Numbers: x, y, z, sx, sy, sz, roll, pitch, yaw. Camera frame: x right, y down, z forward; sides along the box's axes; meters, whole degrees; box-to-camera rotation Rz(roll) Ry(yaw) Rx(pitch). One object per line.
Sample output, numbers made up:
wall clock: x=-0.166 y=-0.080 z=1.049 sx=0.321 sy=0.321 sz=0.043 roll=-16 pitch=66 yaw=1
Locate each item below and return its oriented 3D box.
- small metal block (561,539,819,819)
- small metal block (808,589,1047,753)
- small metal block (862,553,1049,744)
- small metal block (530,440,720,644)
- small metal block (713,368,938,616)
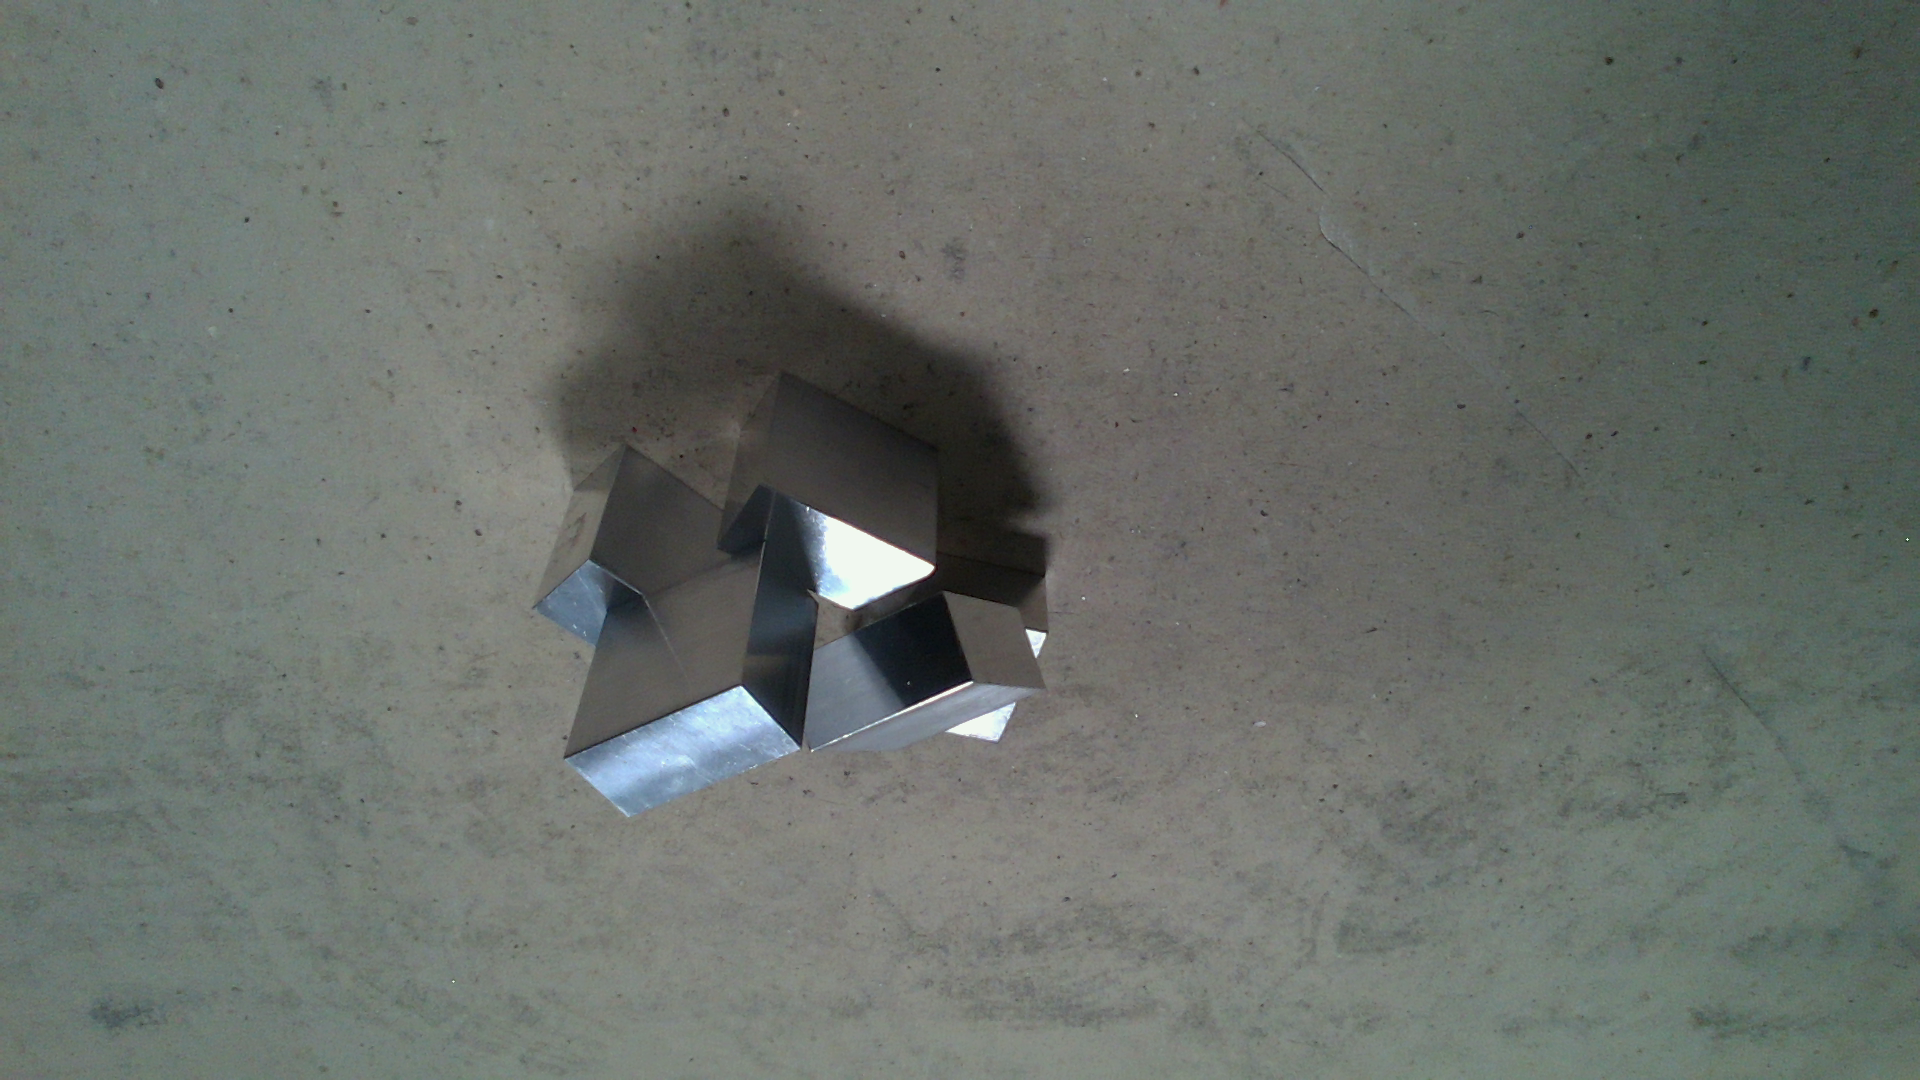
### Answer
small metal block: x=-0.064 y=0.034 z=0.337 sx=0.050 sy=0.050 sz=0.025 roll=-23 pitch=126 yaw=18
small metal block: x=-0.011 y=0.037 z=0.373 sx=0.050 sy=0.025 sz=0.050 roll=-25 pitch=163 yaw=20
small metal block: x=-0.005 y=0.032 z=0.418 sx=0.050 sy=0.025 sz=0.050 roll=12 pitch=129 yaw=-10
small metal block: x=-0.085 y=0.009 z=0.382 sx=0.025 sy=0.050 sz=0.050 roll=-37 pitch=121 yaw=27
small metal block: x=-0.034 y=-0.012 z=0.365 sx=0.050 sy=0.050 sz=0.025 roll=26 pitch=126 yaw=-20
